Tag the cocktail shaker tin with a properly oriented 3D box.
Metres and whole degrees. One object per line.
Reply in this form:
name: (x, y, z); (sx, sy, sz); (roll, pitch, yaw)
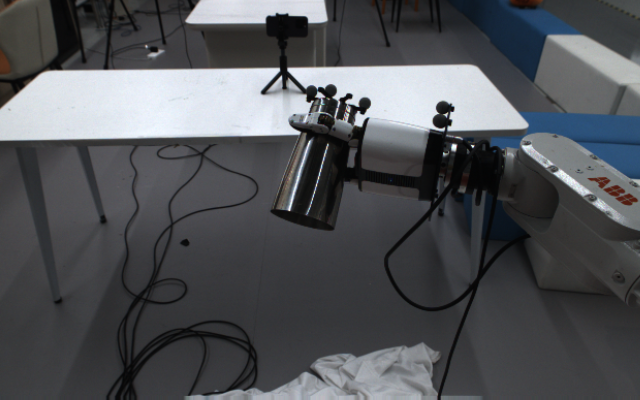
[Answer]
cocktail shaker tin: (0.000, -0.055, 0.678); (0.093, 0.093, 0.170); (13, 77, 15)
